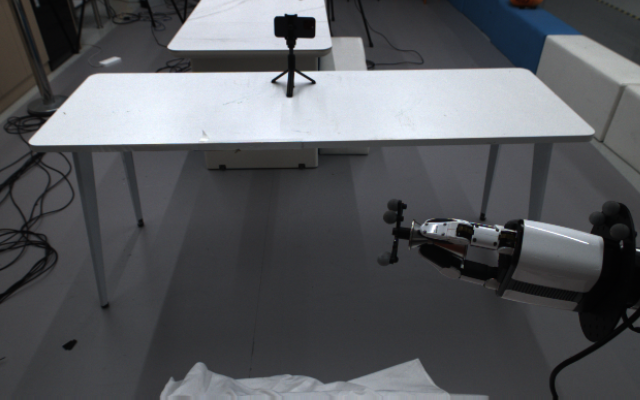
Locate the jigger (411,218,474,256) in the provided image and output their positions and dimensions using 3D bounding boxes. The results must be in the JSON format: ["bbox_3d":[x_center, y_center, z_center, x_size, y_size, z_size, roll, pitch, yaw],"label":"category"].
[{"bbox_3d":[0.153,0.044,0.596,0.071,0.043,0.043,8,35,14],"label":"jigger"}]
